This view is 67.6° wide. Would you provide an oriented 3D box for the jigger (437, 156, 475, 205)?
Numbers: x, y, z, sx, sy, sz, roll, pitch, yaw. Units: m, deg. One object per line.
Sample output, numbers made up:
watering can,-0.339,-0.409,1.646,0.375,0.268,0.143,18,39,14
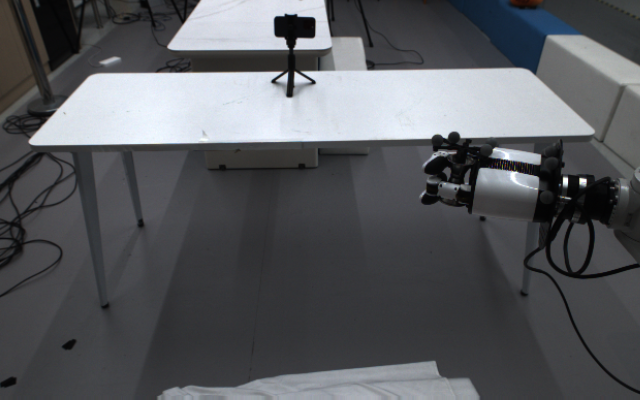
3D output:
jigger,0.209,-0.032,0.733,0.043,0.071,0.043,3,25,-1
